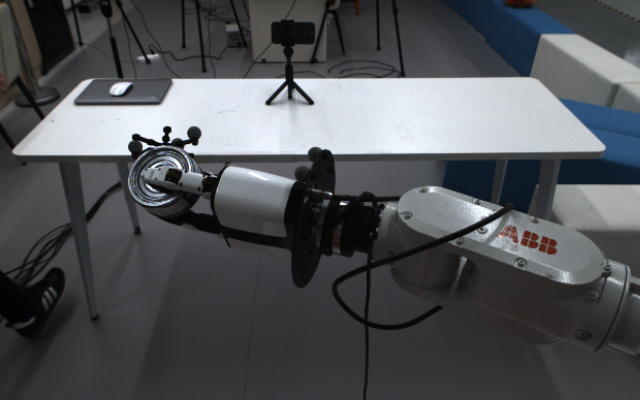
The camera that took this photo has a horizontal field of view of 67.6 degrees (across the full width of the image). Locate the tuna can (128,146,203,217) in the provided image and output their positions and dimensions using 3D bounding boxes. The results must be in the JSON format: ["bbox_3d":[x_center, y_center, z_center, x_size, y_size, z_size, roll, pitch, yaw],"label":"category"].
[{"bbox_3d":[-0.185,-0.017,0.592,0.085,0.034,0.085,-3,69,9],"label":"tuna can"}]
